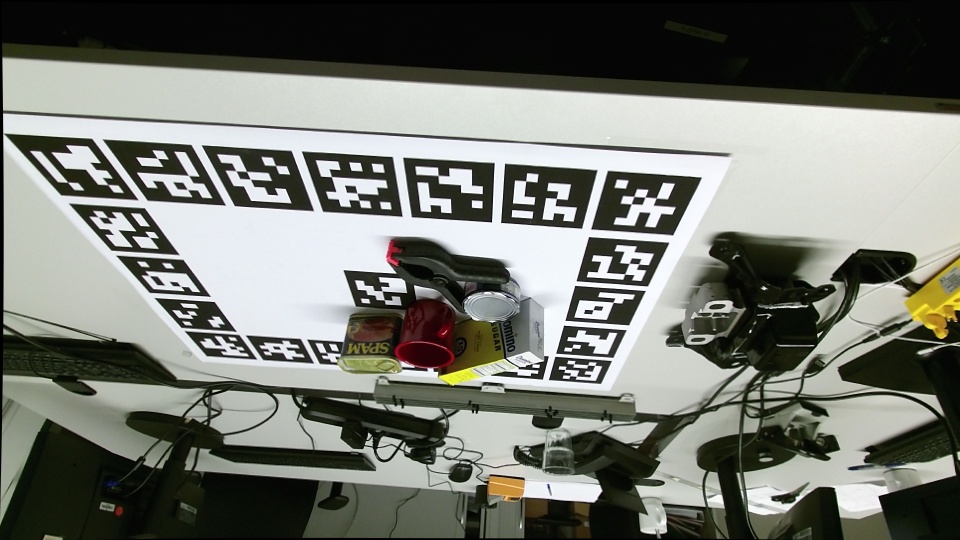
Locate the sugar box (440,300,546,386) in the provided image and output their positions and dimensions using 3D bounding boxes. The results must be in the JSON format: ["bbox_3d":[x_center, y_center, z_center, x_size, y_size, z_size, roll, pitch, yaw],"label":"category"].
[{"bbox_3d":[0.018,0.116,0.835,0.177,0.092,0.045,-22,136,33],"label":"sugar box"}]

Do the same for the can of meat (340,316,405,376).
[{"bbox_3d":[-0.174,0.124,0.875,0.102,0.083,0.058,-1,143,10],"label":"can of meat"}]

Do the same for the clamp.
[{"bbox_3d":[-0.055,0.001,0.744,0.166,0.036,0.122,29,140,-21],"label":"clamp"}]

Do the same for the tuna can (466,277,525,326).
[{"bbox_3d":[0.023,0.044,0.781,0.086,0.033,0.086,3,140,3],"label":"tuna can"}]

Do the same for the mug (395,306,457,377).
[{"bbox_3d":[-0.074,0.104,0.826,0.093,0.081,0.117,20,138,-16],"label":"mug"}]
